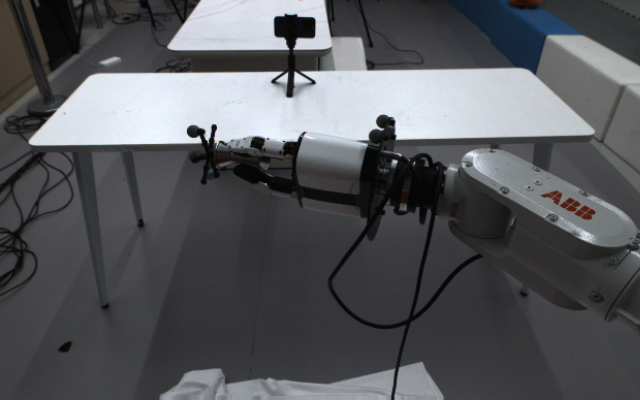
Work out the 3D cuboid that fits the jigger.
[{"bbox_3d":[-0.101,-0.064,0.676,0.071,0.043,0.043,4,34,14],"label":"jigger"}]
